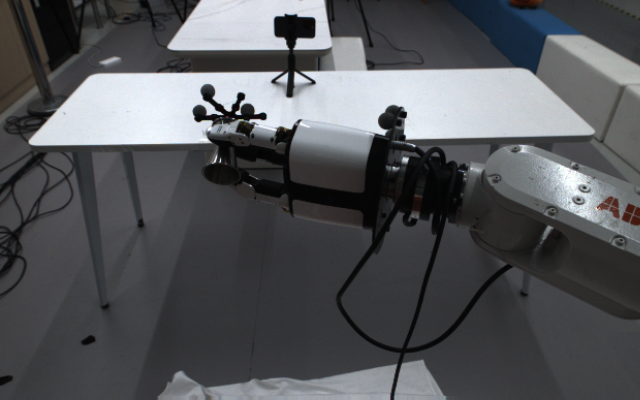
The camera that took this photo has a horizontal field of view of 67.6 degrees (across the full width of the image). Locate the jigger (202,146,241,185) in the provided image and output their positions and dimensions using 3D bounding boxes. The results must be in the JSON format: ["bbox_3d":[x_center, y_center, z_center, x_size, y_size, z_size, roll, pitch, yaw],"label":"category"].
[{"bbox_3d":[-0.110,-0.060,0.560,0.043,0.043,0.071,2,59,-1],"label":"jigger"}]
